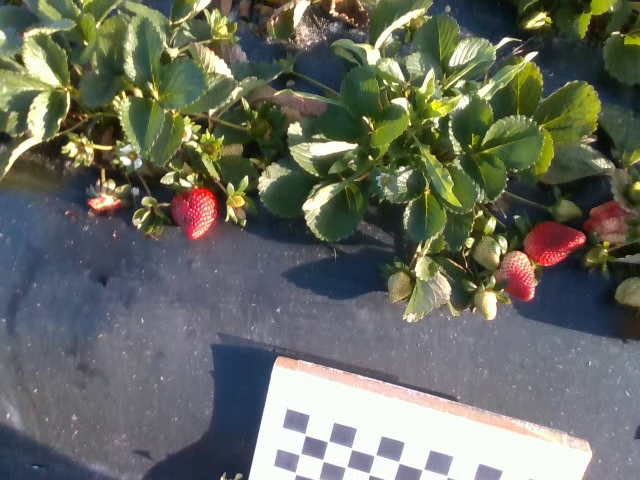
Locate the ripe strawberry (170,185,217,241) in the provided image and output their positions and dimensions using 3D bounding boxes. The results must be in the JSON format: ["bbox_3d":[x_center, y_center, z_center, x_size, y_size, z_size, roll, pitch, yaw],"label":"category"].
[{"bbox_3d":[-0.120,-0.020,0.549,0.052,0.052,0.041,-15,-43,12],"label":"ripe strawberry"}]
